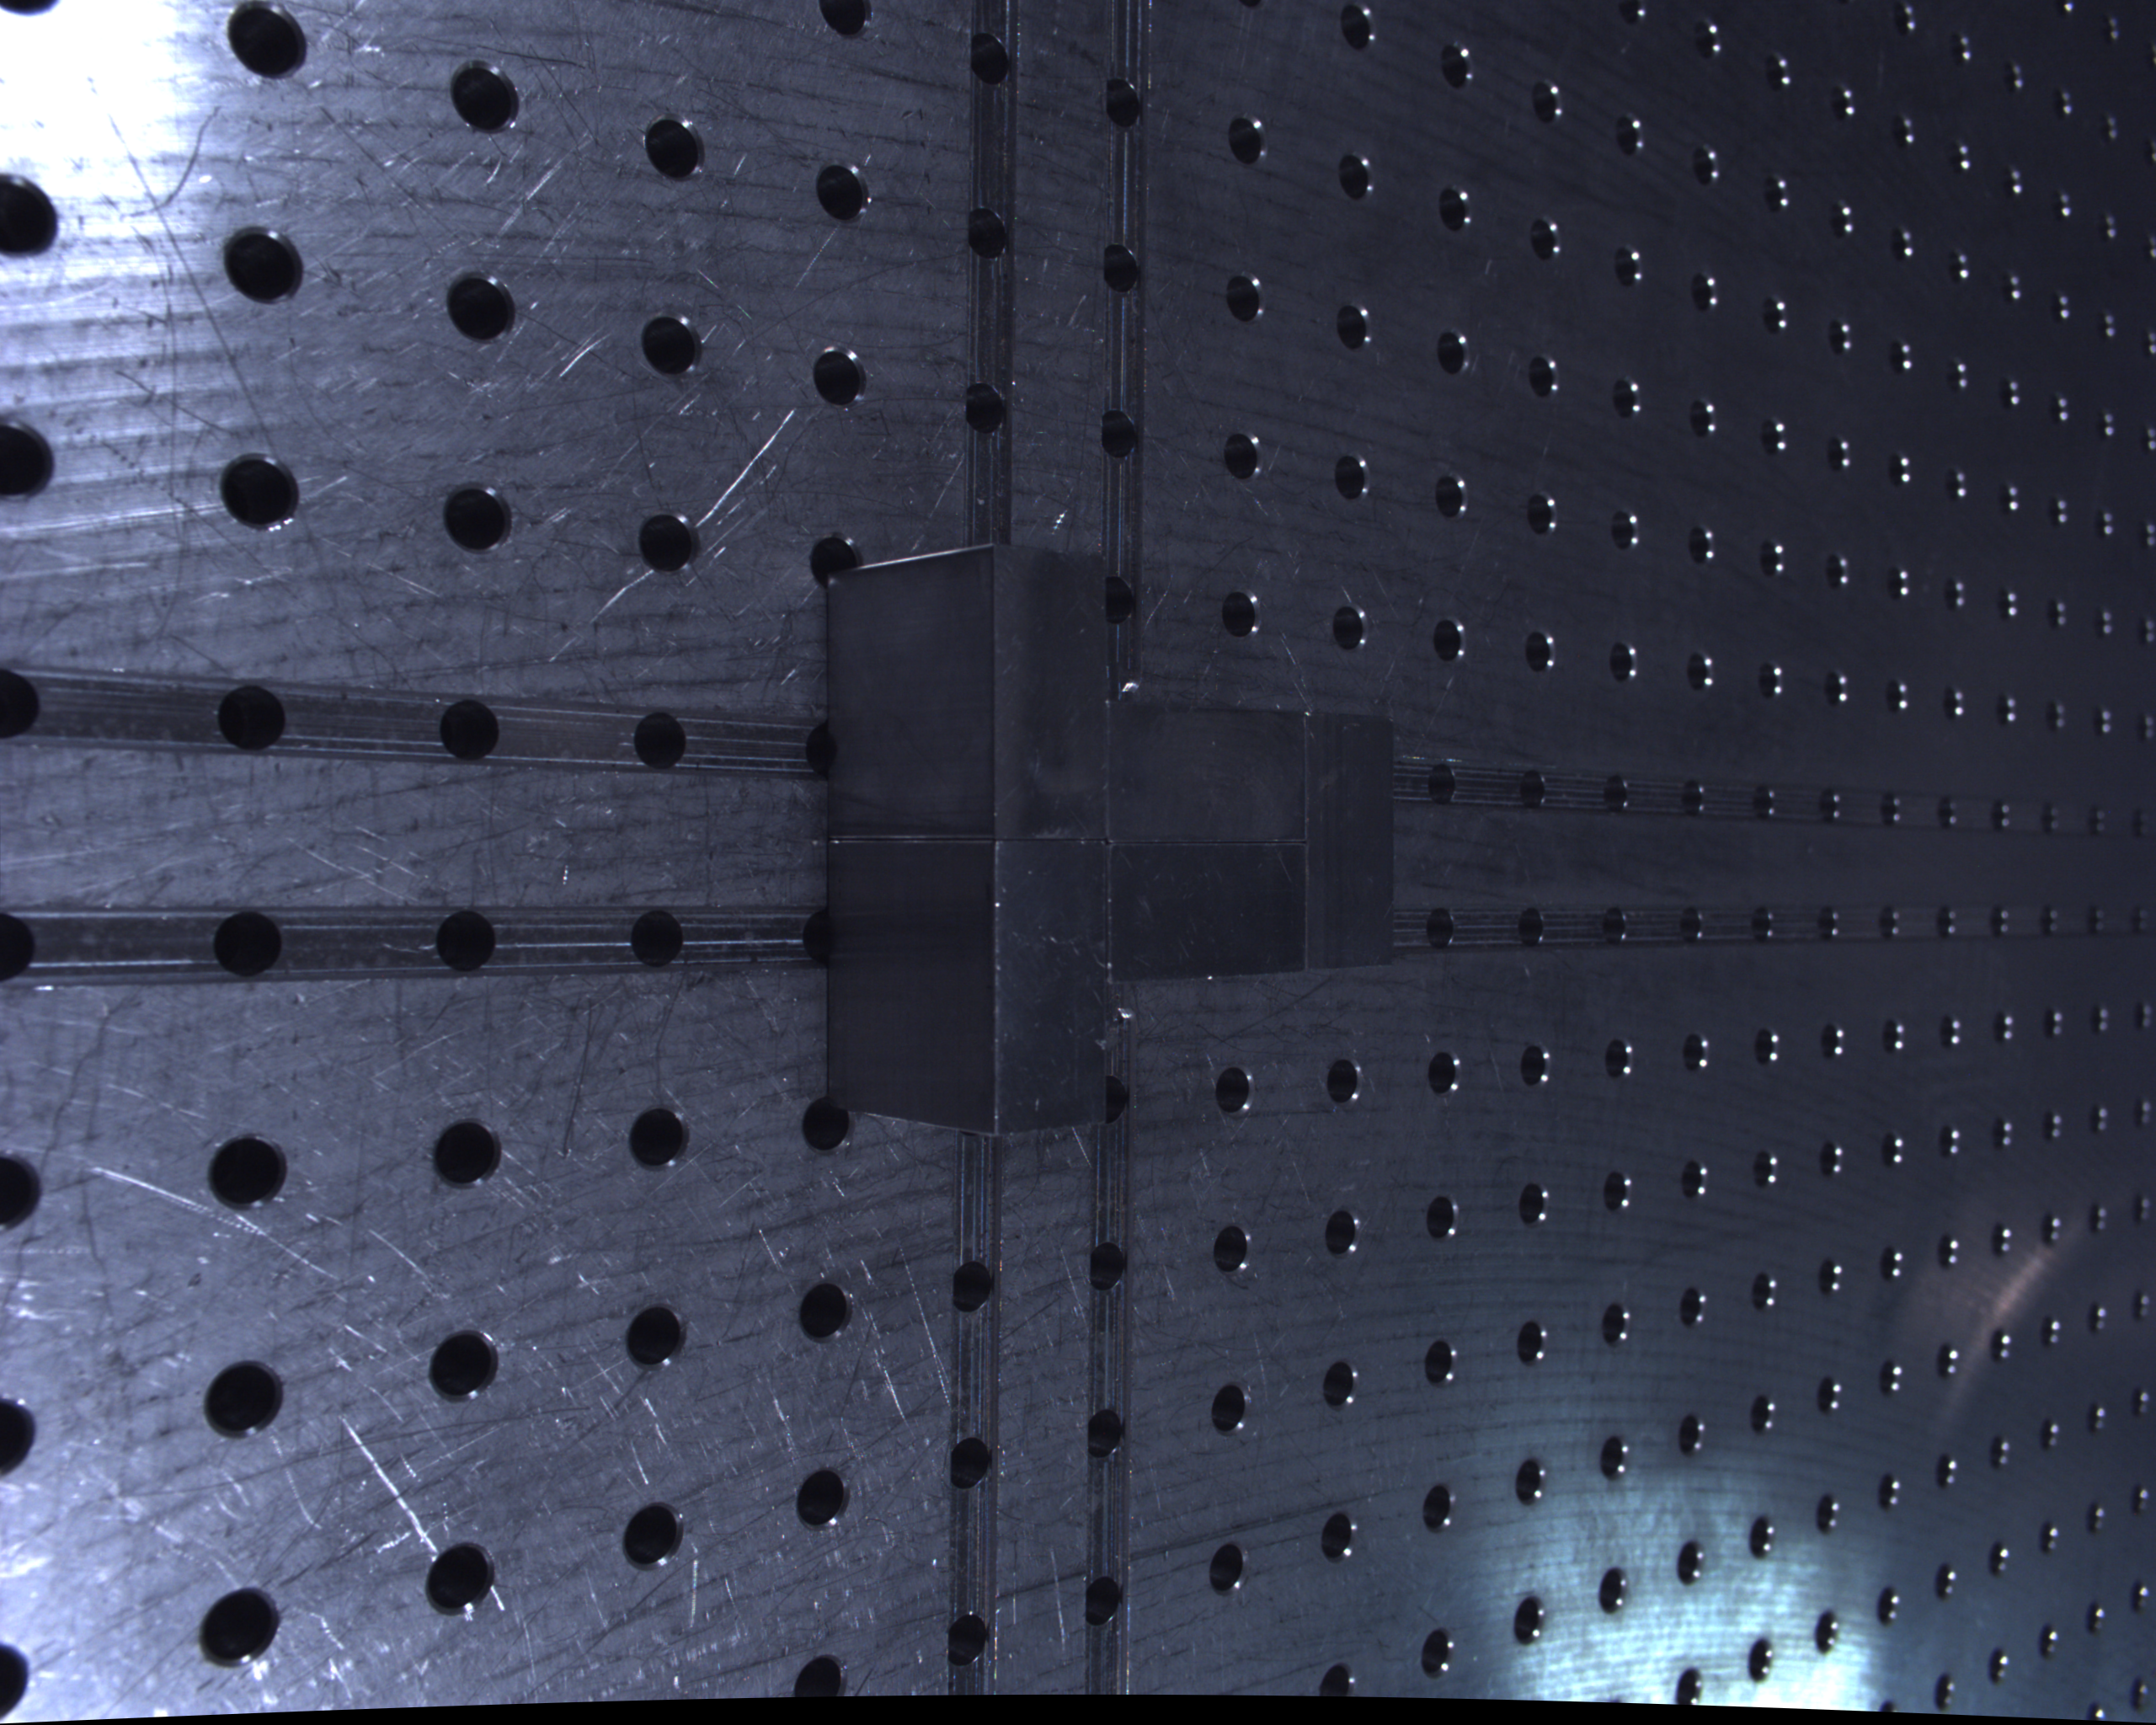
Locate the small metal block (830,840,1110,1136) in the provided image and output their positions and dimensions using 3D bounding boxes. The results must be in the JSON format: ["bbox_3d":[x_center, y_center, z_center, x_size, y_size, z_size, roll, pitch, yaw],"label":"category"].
[{"bbox_3d":[-0.020,0.021,0.377,0.025,0.050,0.050,0,90,-40],"label":"small metal block"}]

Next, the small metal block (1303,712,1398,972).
[{"bbox_3d":[0.038,-0.004,0.426,0.025,0.050,0.050,0,90,-40],"label":"small metal block"}]

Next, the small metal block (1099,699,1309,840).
[{"bbox_3d":[0.009,-0.017,0.401,0.050,0.050,0.025,0,91,-40],"label":"small metal block"}]

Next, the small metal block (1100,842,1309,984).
[{"bbox_3d":[0.009,0.009,0.401,0.050,0.050,0.025,0,91,-40],"label":"small metal block"}]

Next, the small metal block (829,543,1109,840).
[{"bbox_3d":[-0.020,-0.029,0.377,0.025,0.050,0.050,0,90,-40],"label":"small metal block"}]
